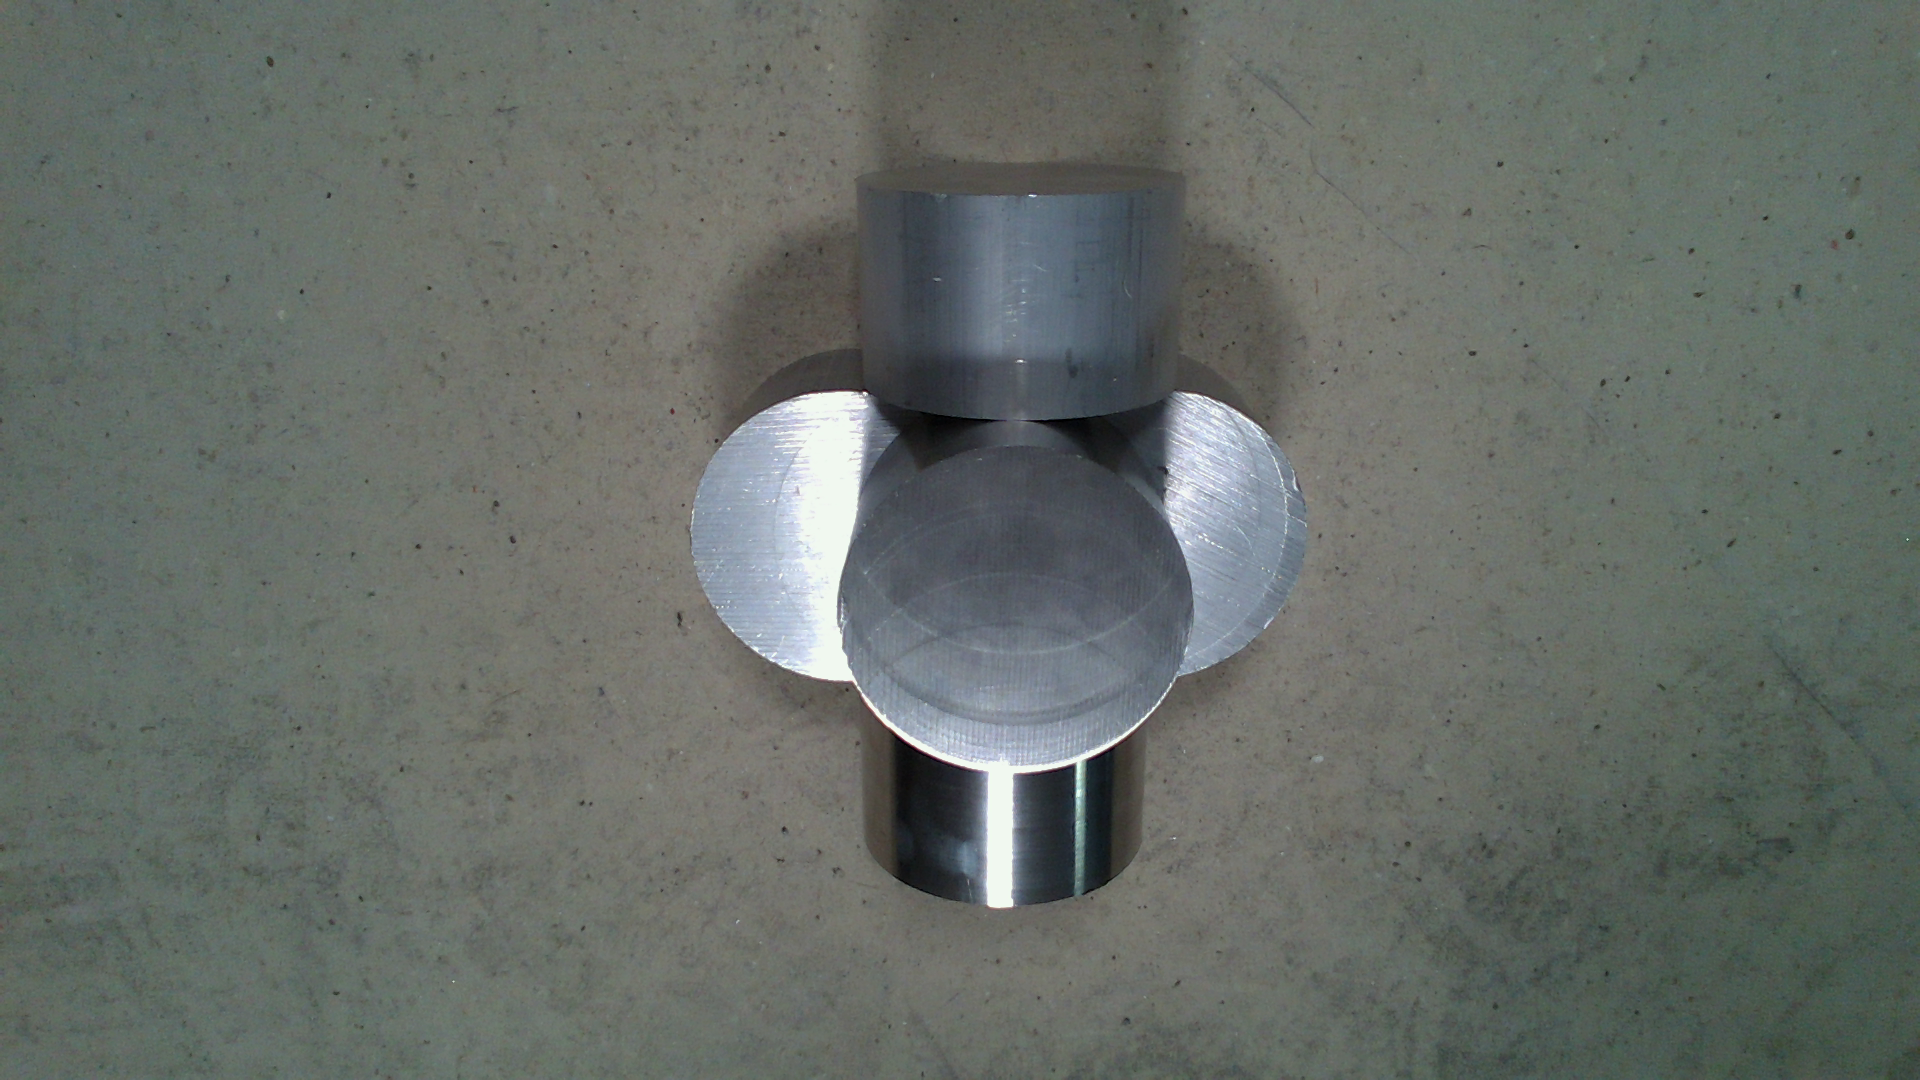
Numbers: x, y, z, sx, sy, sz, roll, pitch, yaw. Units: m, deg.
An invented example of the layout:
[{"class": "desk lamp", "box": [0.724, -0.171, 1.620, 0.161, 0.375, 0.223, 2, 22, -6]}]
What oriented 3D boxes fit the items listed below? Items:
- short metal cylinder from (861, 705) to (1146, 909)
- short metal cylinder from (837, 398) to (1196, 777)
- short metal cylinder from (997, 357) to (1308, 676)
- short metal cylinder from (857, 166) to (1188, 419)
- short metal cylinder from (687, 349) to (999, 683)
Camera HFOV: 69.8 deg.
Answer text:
[{"class": "short metal cylinder", "box": [0.012, 0.059, 0.387, 0.080, 0.080, 0.050, 0, 110, 0]}, {"class": "short metal cylinder", "box": [0.013, 0.009, 0.330, 0.080, 0.050, 0.080, 0, 110, 0]}, {"class": "short metal cylinder", "box": [0.050, -0.009, 0.378, 0.080, 0.050, 0.080, 0, 110, 0]}, {"class": "short metal cylinder", "box": [0.015, -0.065, 0.341, 0.080, 0.080, 0.050, 0, 110, 0]}, {"class": "short metal cylinder", "box": [-0.030, -0.008, 0.377, 0.080, 0.050, 0.080, 0, 110, 0]}]
